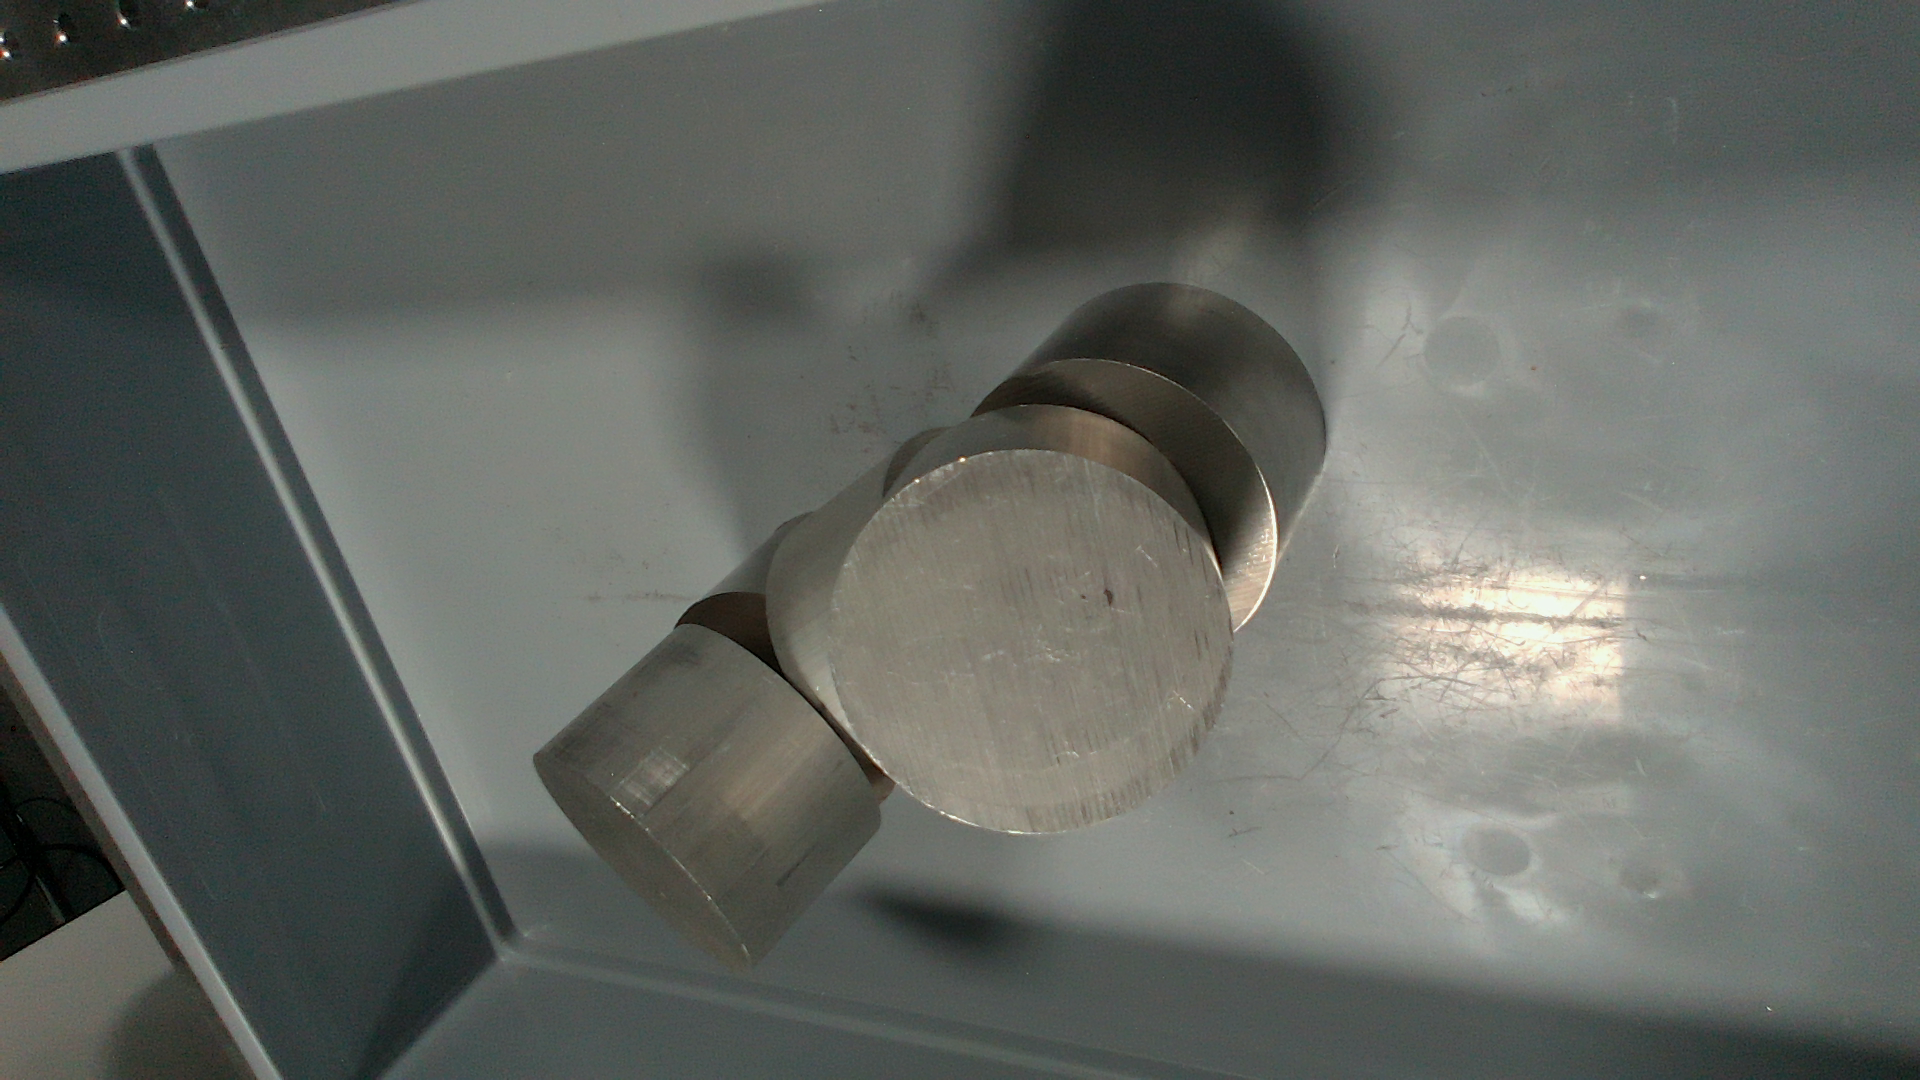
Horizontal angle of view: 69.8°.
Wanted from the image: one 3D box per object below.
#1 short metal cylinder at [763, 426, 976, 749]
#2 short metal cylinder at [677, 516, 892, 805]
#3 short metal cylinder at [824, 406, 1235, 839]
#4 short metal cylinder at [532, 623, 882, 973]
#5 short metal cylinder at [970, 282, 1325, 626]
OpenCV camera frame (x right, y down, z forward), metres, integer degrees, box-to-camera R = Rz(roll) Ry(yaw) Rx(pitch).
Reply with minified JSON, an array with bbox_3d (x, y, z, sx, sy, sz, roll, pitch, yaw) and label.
[{"bbox_3d":[-0.005,0.017,0.369,0.050,0.080,0.080,-34,100,38],"label":"short metal cylinder"},{"bbox_3d":[-0.042,0.038,0.421,0.080,0.050,0.080,13,124,21],"label":"short metal cylinder"},{"bbox_3d":[0.016,0.015,0.292,0.080,0.050,0.080,1,105,6],"label":"short metal cylinder"},{"bbox_3d":[-0.068,0.069,0.371,0.080,0.050,0.080,33,150,22],"label":"short metal cylinder"},{"bbox_3d":[0.045,-0.017,0.341,0.080,0.050,0.080,13,124,21],"label":"short metal cylinder"}]
